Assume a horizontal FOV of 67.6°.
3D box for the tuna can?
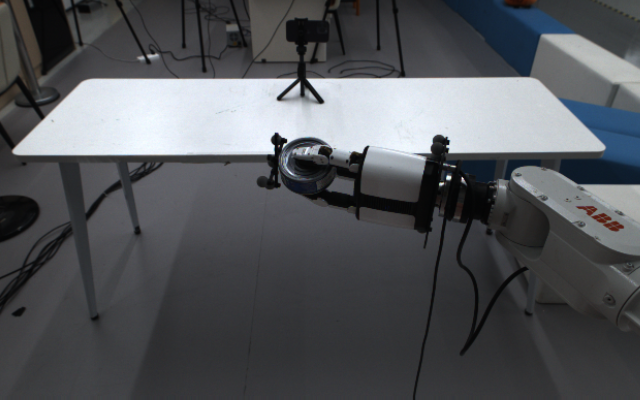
[{"bbox_3d":[-0.018,-0.053,0.724,0.085,0.034,0.085,-2,57,3],"label":"tuna can"}]
